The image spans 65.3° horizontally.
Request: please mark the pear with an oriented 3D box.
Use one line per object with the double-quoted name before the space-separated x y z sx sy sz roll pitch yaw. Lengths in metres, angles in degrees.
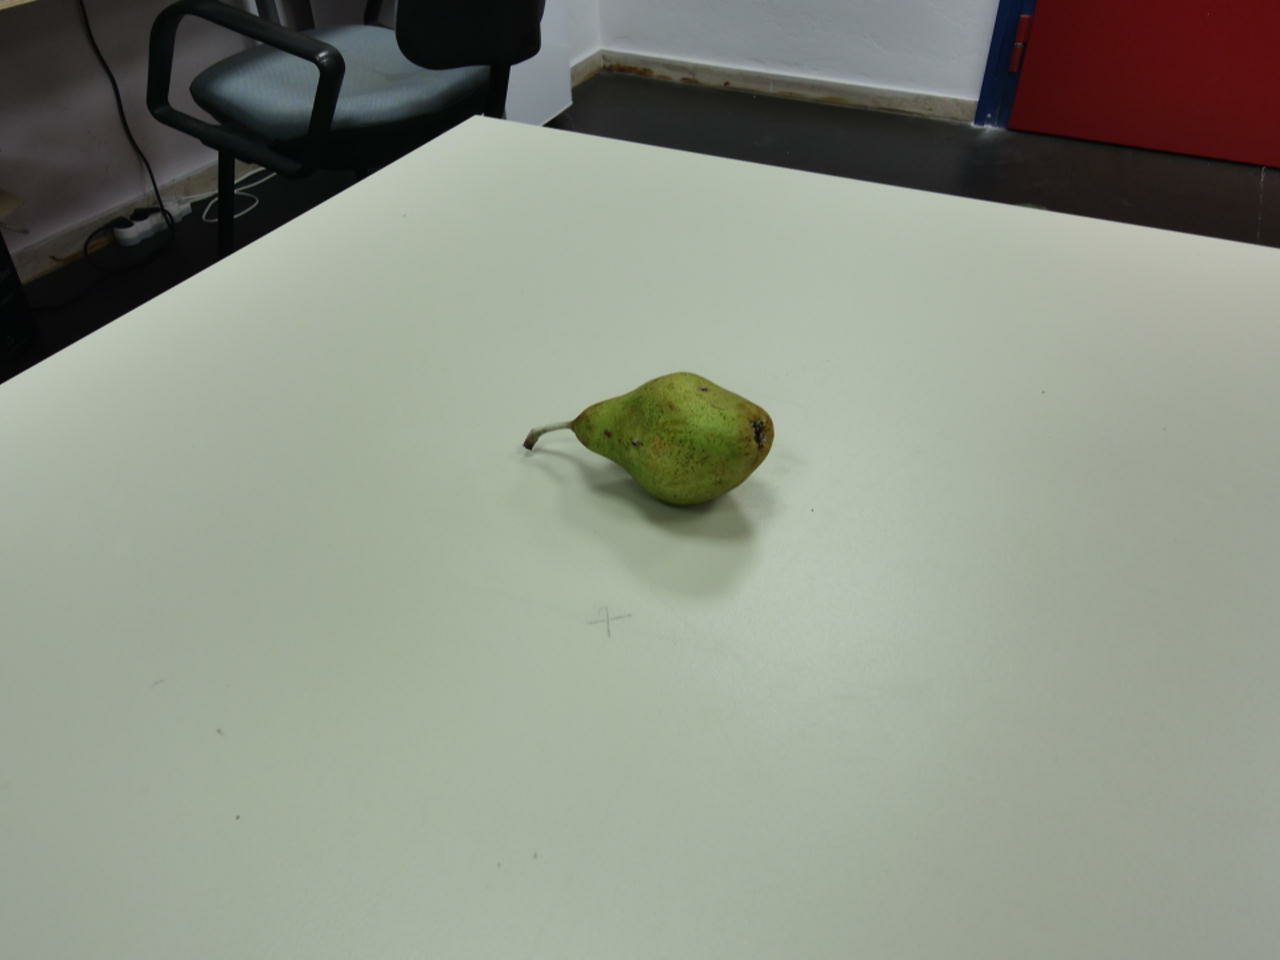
"pear" 0.005 -0.025 0.434 0.111 0.056 0.056 29 46 33
